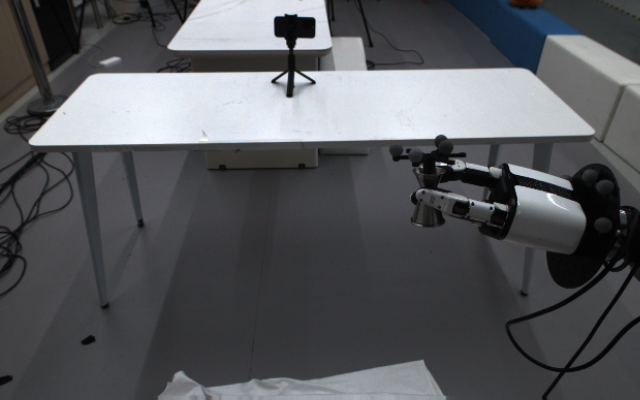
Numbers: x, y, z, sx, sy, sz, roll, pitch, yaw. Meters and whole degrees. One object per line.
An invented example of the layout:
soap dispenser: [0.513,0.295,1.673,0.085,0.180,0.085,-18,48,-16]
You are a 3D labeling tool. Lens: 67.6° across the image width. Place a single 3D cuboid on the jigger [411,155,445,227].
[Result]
jigger: [0.136,-0.005,0.610,0.043,0.071,0.043,-2,19,1]
